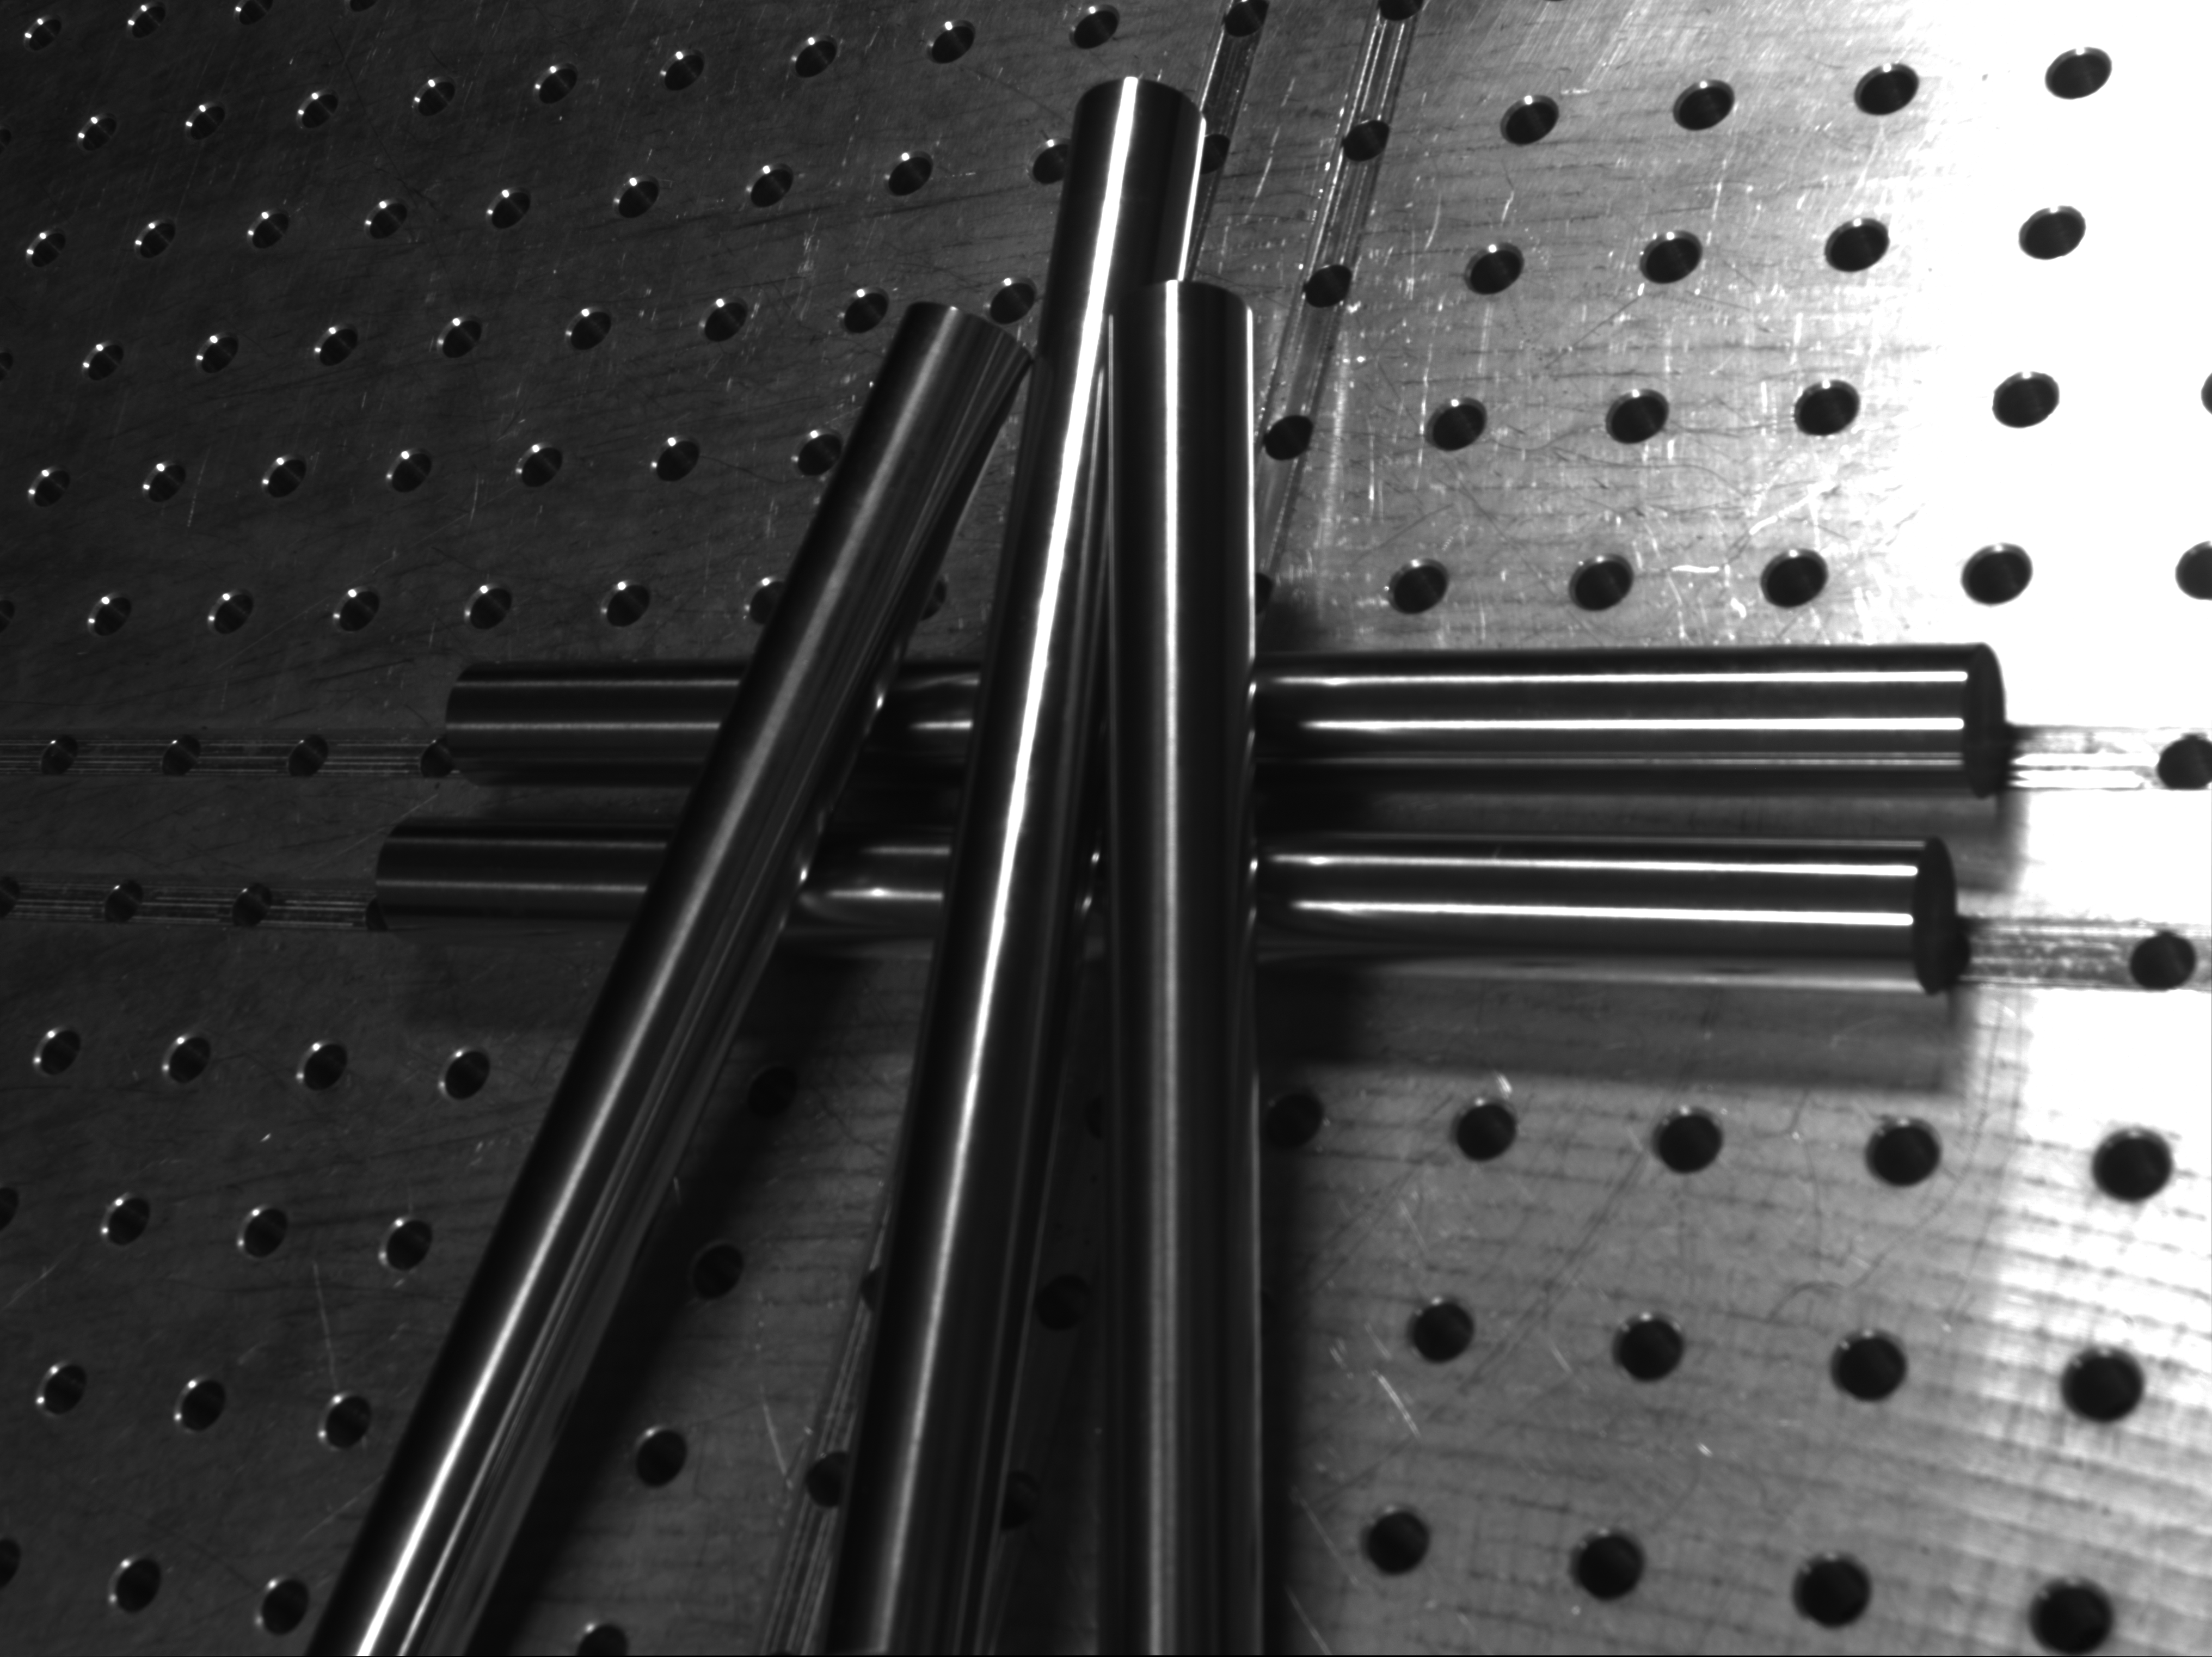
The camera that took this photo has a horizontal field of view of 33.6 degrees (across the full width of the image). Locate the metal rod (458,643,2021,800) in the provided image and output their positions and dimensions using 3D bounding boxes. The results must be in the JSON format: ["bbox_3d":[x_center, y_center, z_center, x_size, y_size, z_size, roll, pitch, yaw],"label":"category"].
[{"bbox_3d":[0.011,-0.019,0.653,0.299,0.025,0.025,1,62,29],"label":"metal rod"}]

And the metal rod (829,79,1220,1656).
[{"bbox_3d":[-0.010,-0.003,0.623,0.025,0.025,0.300,-6,59,25],"label":"metal rod"}]

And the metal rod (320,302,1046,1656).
[{"bbox_3d":[-0.079,0.046,0.638,0.025,0.025,0.300,15,76,34],"label":"metal rod"}]

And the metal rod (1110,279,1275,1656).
[{"bbox_3d":[0.014,0.047,0.586,0.025,0.025,0.300,-10,64,23],"label":"metal rod"}]

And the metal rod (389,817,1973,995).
[{"bbox_3d":[0.000,0.012,0.641,0.299,0.025,0.025,1,62,29],"label":"metal rod"}]
